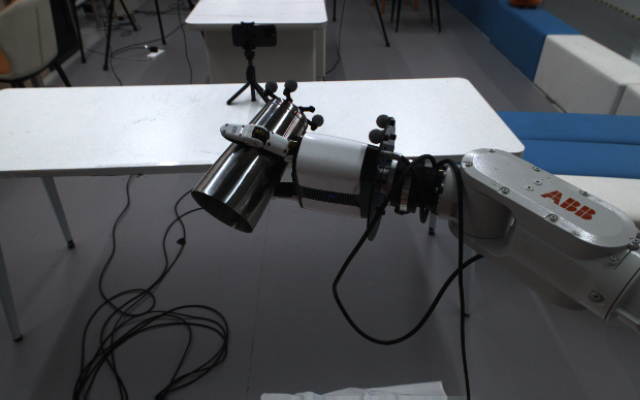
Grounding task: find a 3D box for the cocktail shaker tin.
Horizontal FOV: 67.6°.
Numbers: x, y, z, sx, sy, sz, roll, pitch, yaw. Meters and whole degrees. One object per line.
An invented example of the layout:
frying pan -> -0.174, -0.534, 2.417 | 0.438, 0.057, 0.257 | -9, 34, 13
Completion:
cocktail shaker tin -> -0.083, -0.055, 0.645 | 0.093, 0.093, 0.170 | 20, 67, 24
